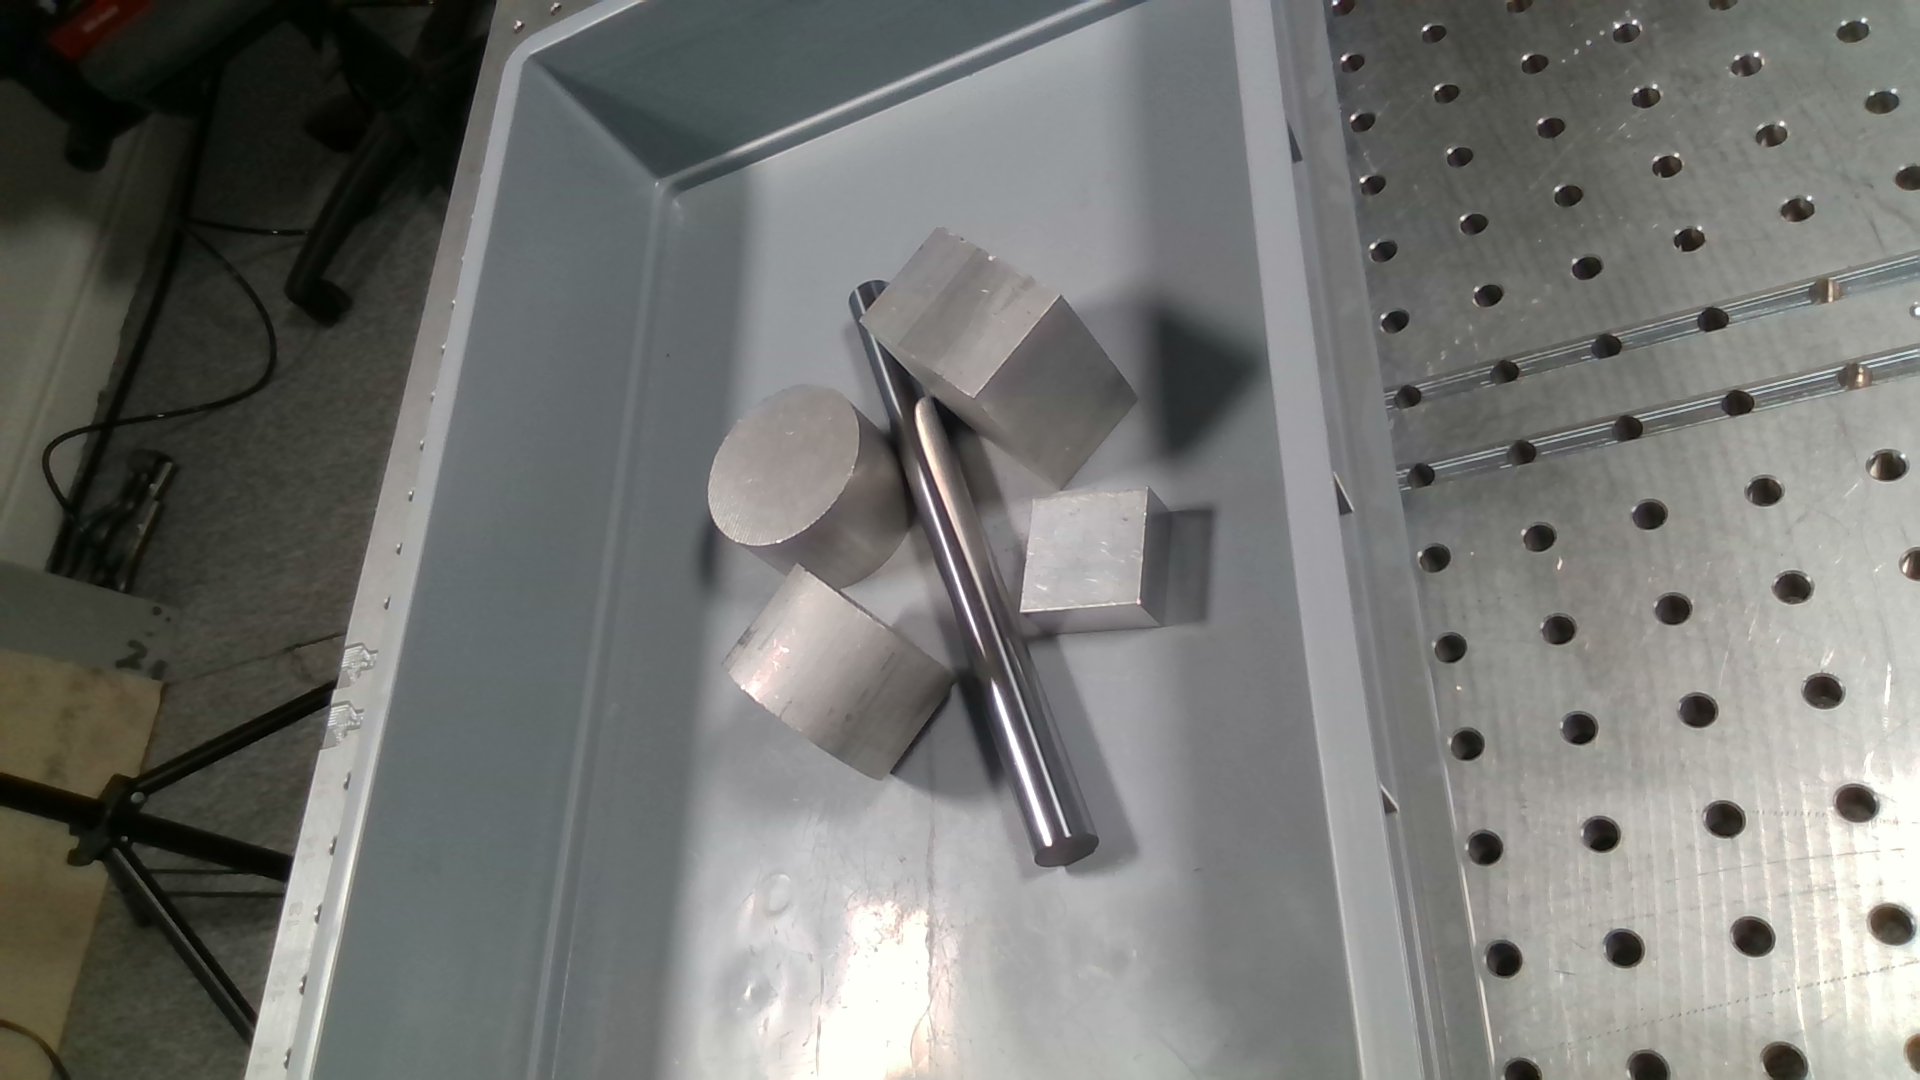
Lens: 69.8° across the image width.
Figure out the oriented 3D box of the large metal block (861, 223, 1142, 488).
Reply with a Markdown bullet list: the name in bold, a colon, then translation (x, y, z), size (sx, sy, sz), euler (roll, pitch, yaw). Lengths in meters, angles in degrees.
- **large metal block**: translation (0.018, -0.077, 0.579), size (0.050, 0.080, 0.080), euler (-51, 51, -1)

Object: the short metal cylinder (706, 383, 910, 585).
- **short metal cylinder**: translation (-0.067, -0.024, 0.621), size (0.080, 0.050, 0.080), euler (-14, 59, 25)

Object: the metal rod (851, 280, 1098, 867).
- **metal rod**: translation (-0.002, -0.002, 0.587), size (0.025, 0.025, 0.299), euler (-30, 53, 15)

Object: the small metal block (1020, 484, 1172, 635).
- **small metal block**: translation (0.054, 0.008, 0.546), size (0.050, 0.025, 0.050), euler (-6, 63, 29)

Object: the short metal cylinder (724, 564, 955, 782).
- **short metal cylinder**: translation (-0.048, 0.052, 0.551), size (0.080, 0.080, 0.050), euler (33, 85, 39)
